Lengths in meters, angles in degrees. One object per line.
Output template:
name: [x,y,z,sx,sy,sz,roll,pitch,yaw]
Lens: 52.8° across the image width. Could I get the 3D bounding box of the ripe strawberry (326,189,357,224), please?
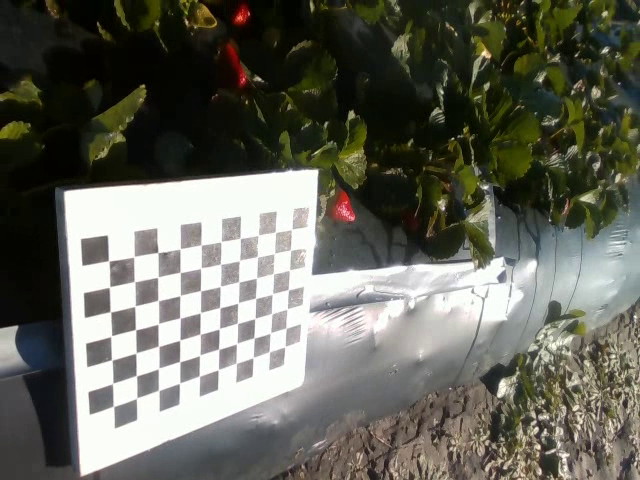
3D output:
ripe strawberry: [0.030,-0.041,0.843,0.029,0.048,0.055,20,-22,44]
